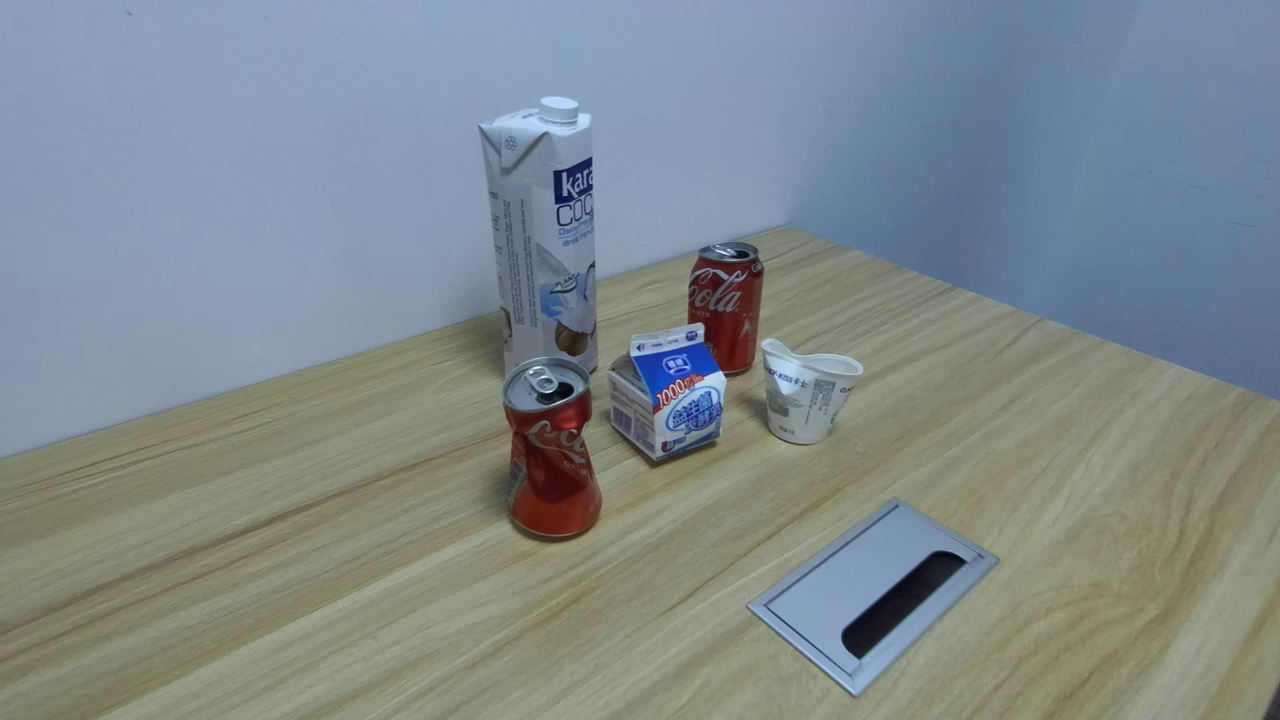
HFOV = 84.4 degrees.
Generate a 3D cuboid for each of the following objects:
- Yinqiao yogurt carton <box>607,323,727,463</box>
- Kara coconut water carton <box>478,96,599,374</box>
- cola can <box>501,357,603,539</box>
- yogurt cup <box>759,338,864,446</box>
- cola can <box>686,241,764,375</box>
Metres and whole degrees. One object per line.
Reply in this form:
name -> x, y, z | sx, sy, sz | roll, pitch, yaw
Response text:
Yinqiao yogurt carton -> 0.024, 0.019, 0.556 | 0.075, 0.097, 0.080 | -15, 27, -28
Kara coconut water carton -> -0.080, -0.090, 0.595 | 0.075, 0.245, 0.077 | 12, 31, 22
cola can -> -0.059, 0.058, 0.473 | 0.065, 0.112, 0.069 | 2, 31, 1
yogurt cup -> 0.134, 0.025, 0.576 | 0.075, 0.071, 0.053 | 4, 30, 1
cola can -> 0.080, -0.048, 0.656 | 0.072, 0.117, 0.065 | -22, 39, -34
